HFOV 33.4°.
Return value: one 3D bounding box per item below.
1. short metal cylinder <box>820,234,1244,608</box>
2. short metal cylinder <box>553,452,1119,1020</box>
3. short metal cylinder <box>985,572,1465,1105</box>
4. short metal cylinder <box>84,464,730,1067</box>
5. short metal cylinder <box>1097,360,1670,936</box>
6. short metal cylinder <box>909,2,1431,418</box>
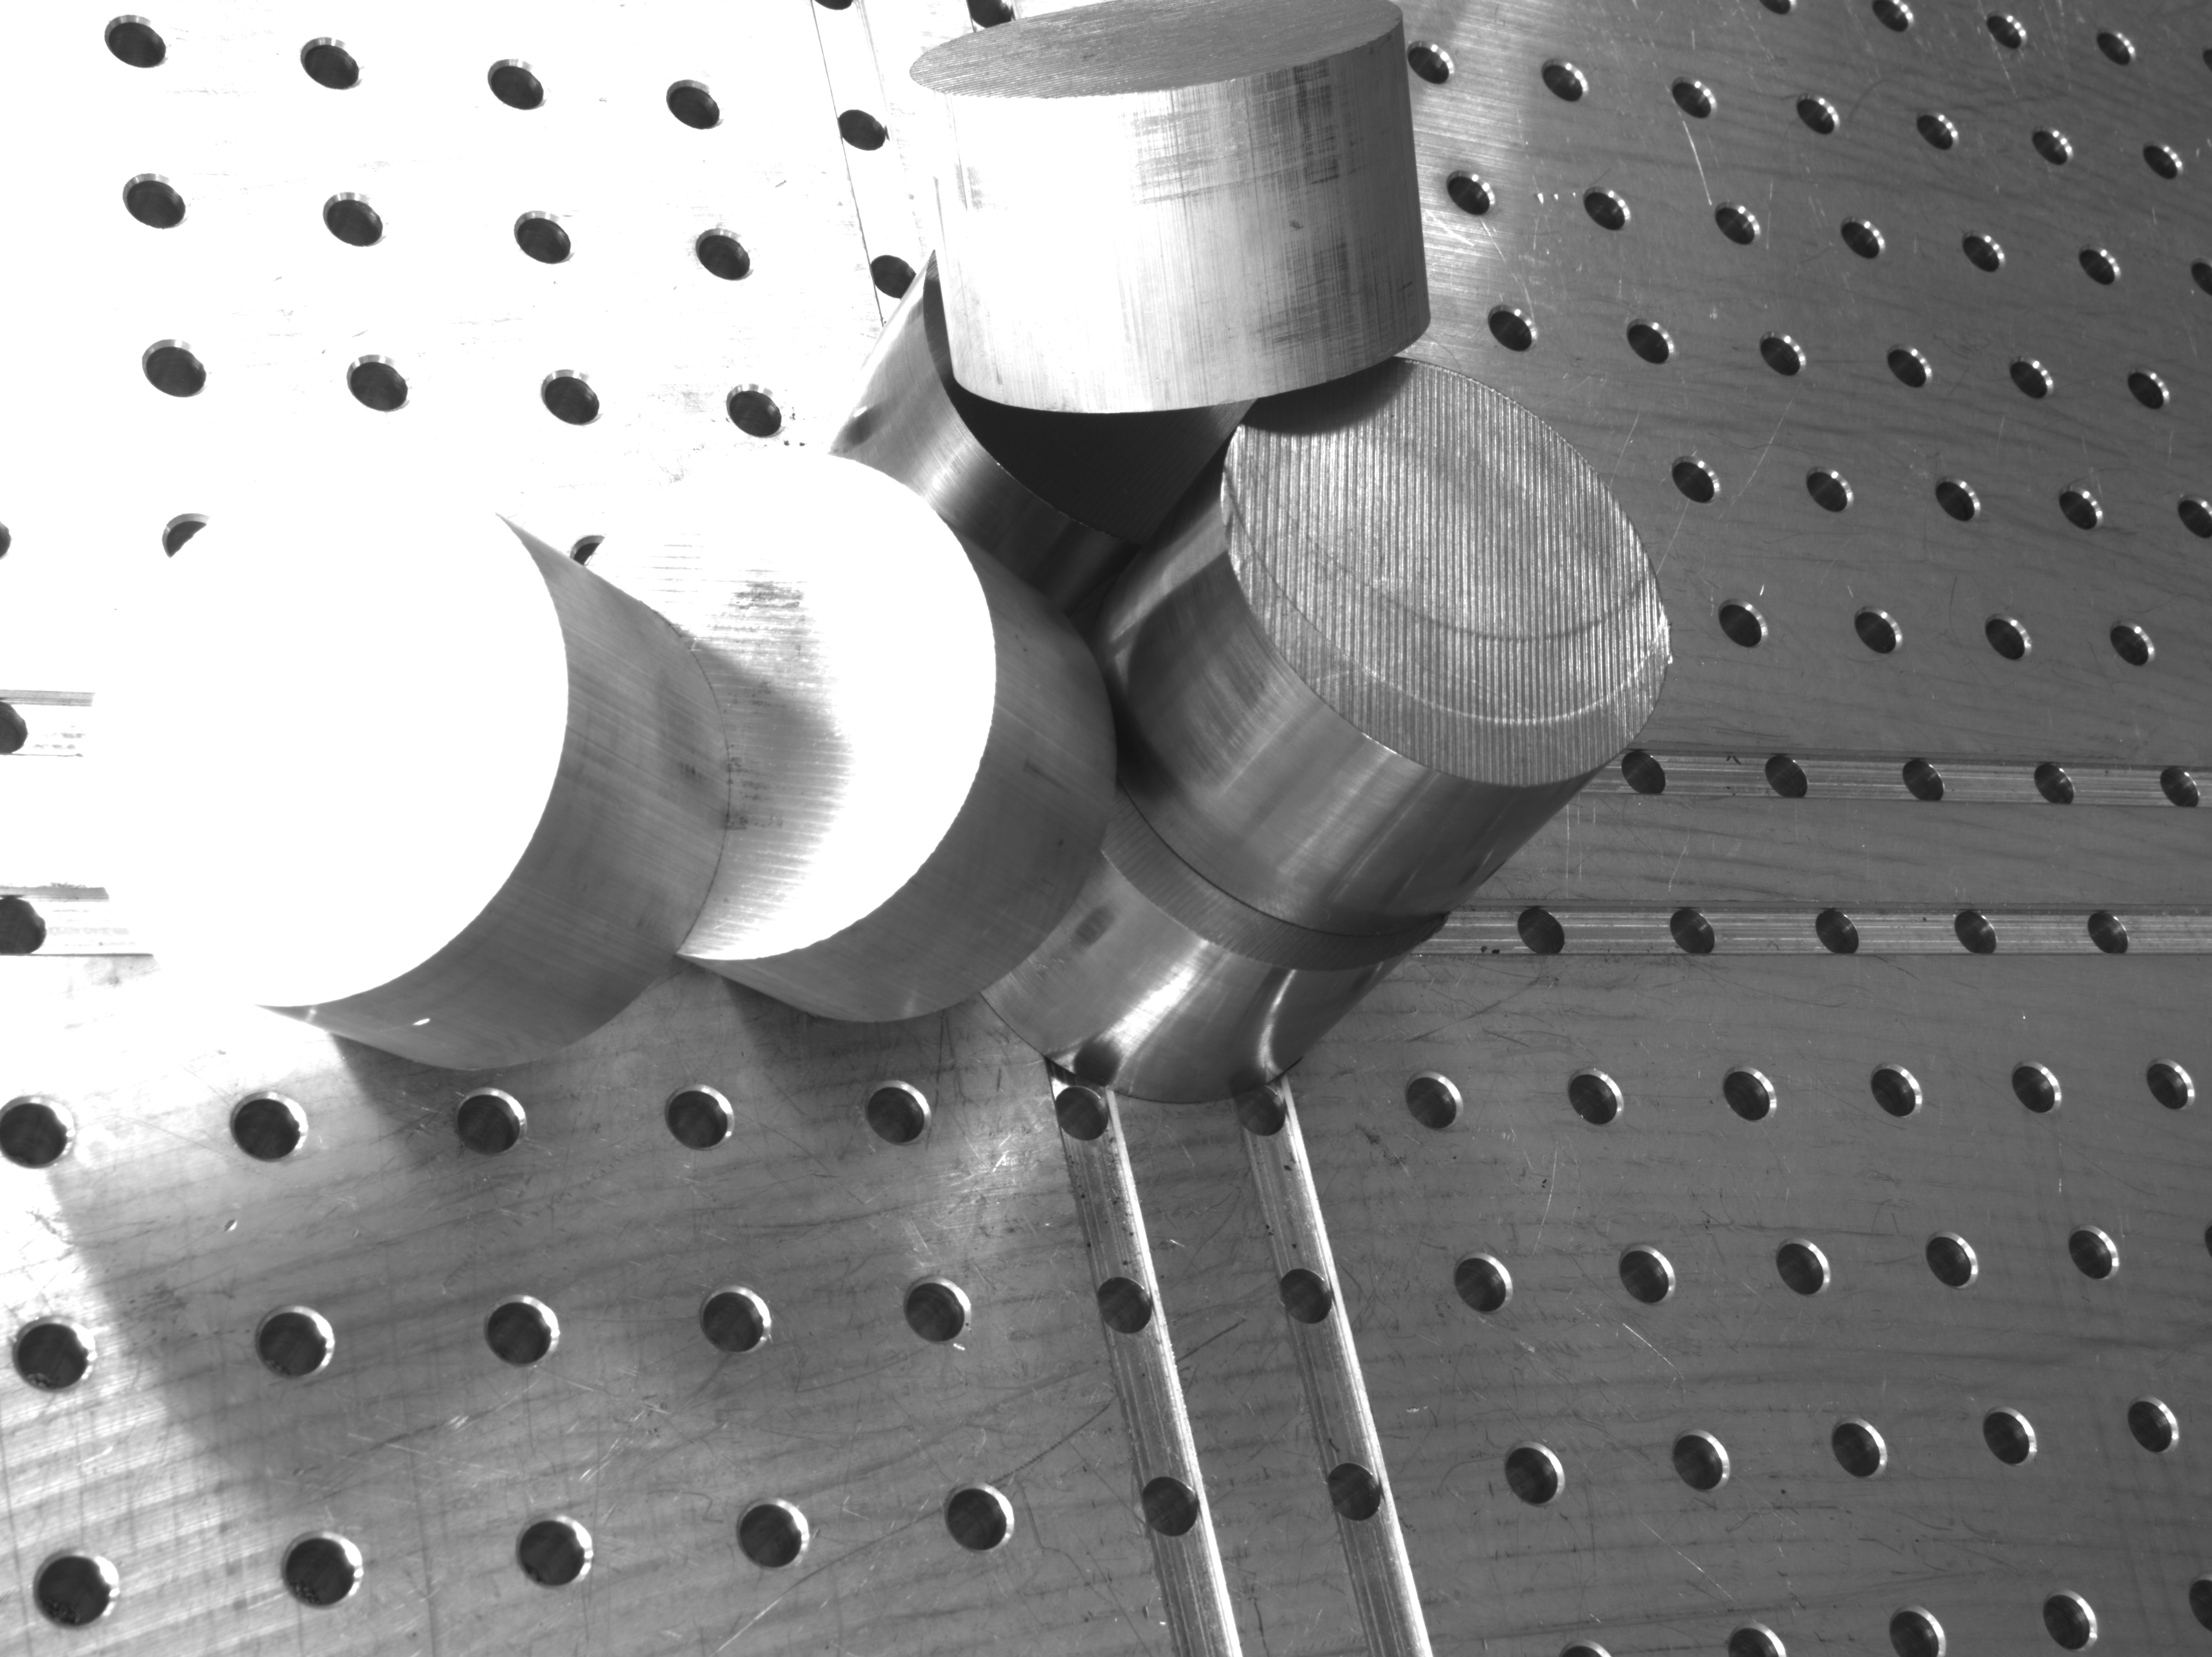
[{"bbox_3d":[-0.006,-0.071,0.666,0.080,0.050,0.080,13,56,-20],"label":"short metal cylinder"},{"bbox_3d":[-0.044,-0.013,0.583,0.050,0.080,0.080,33,34,-64],"label":"short metal cylinder"},{"bbox_3d":[0.016,0.001,0.634,0.080,0.050,0.080,13,56,-21],"label":"short metal cylinder"},{"bbox_3d":[-0.103,-0.008,0.549,0.050,0.080,0.080,34,33,-65],"label":"short metal cylinder"},{"bbox_3d":[0.044,-0.029,0.602,0.080,0.050,0.080,13,56,-20],"label":"short metal cylinder"},{"bbox_3d":[0.011,-0.104,0.604,0.080,0.080,0.050,-26,119,-37],"label":"short metal cylinder"}]
